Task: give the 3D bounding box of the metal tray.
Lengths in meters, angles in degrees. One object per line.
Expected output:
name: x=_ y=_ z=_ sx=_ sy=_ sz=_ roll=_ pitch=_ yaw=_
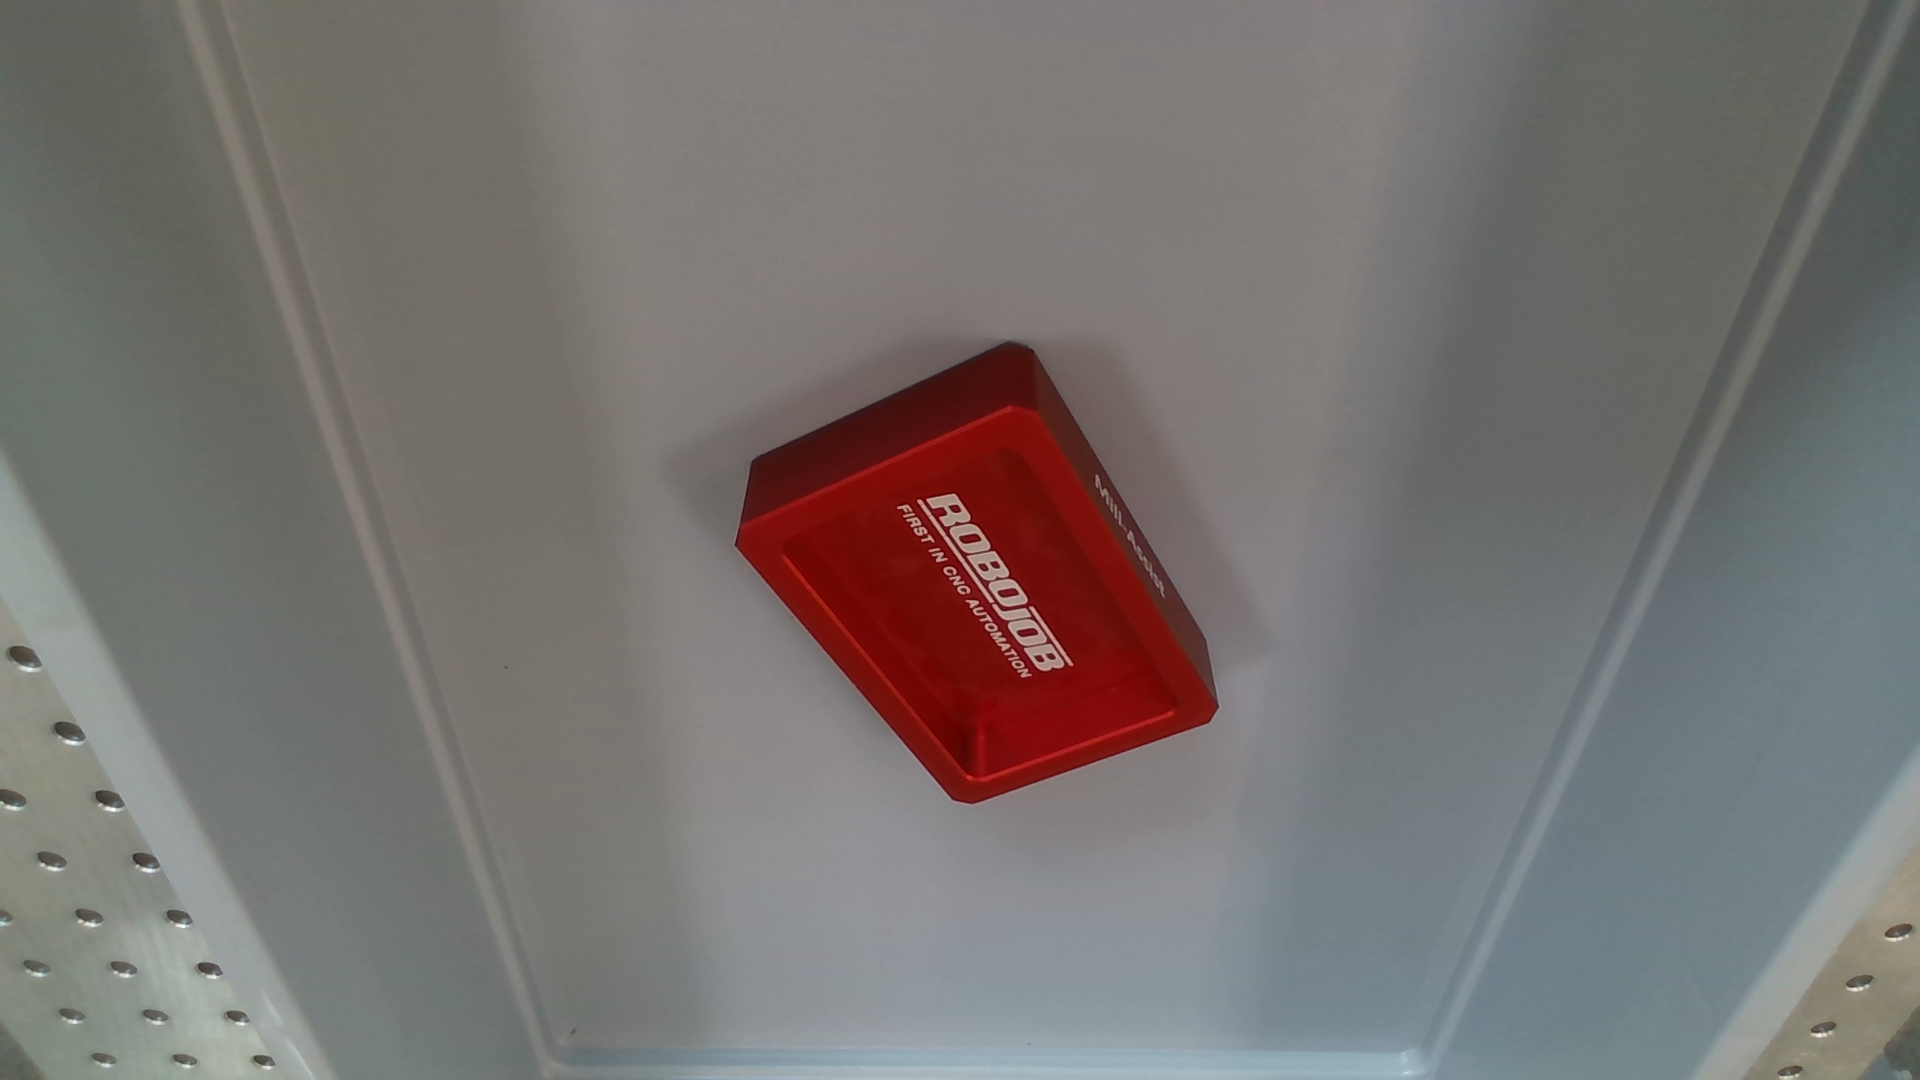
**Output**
metal tray: x=0.008 y=0.016 z=0.395 sx=0.090 sy=0.030 sz=0.130 roll=-22 pitch=127 yaw=18
